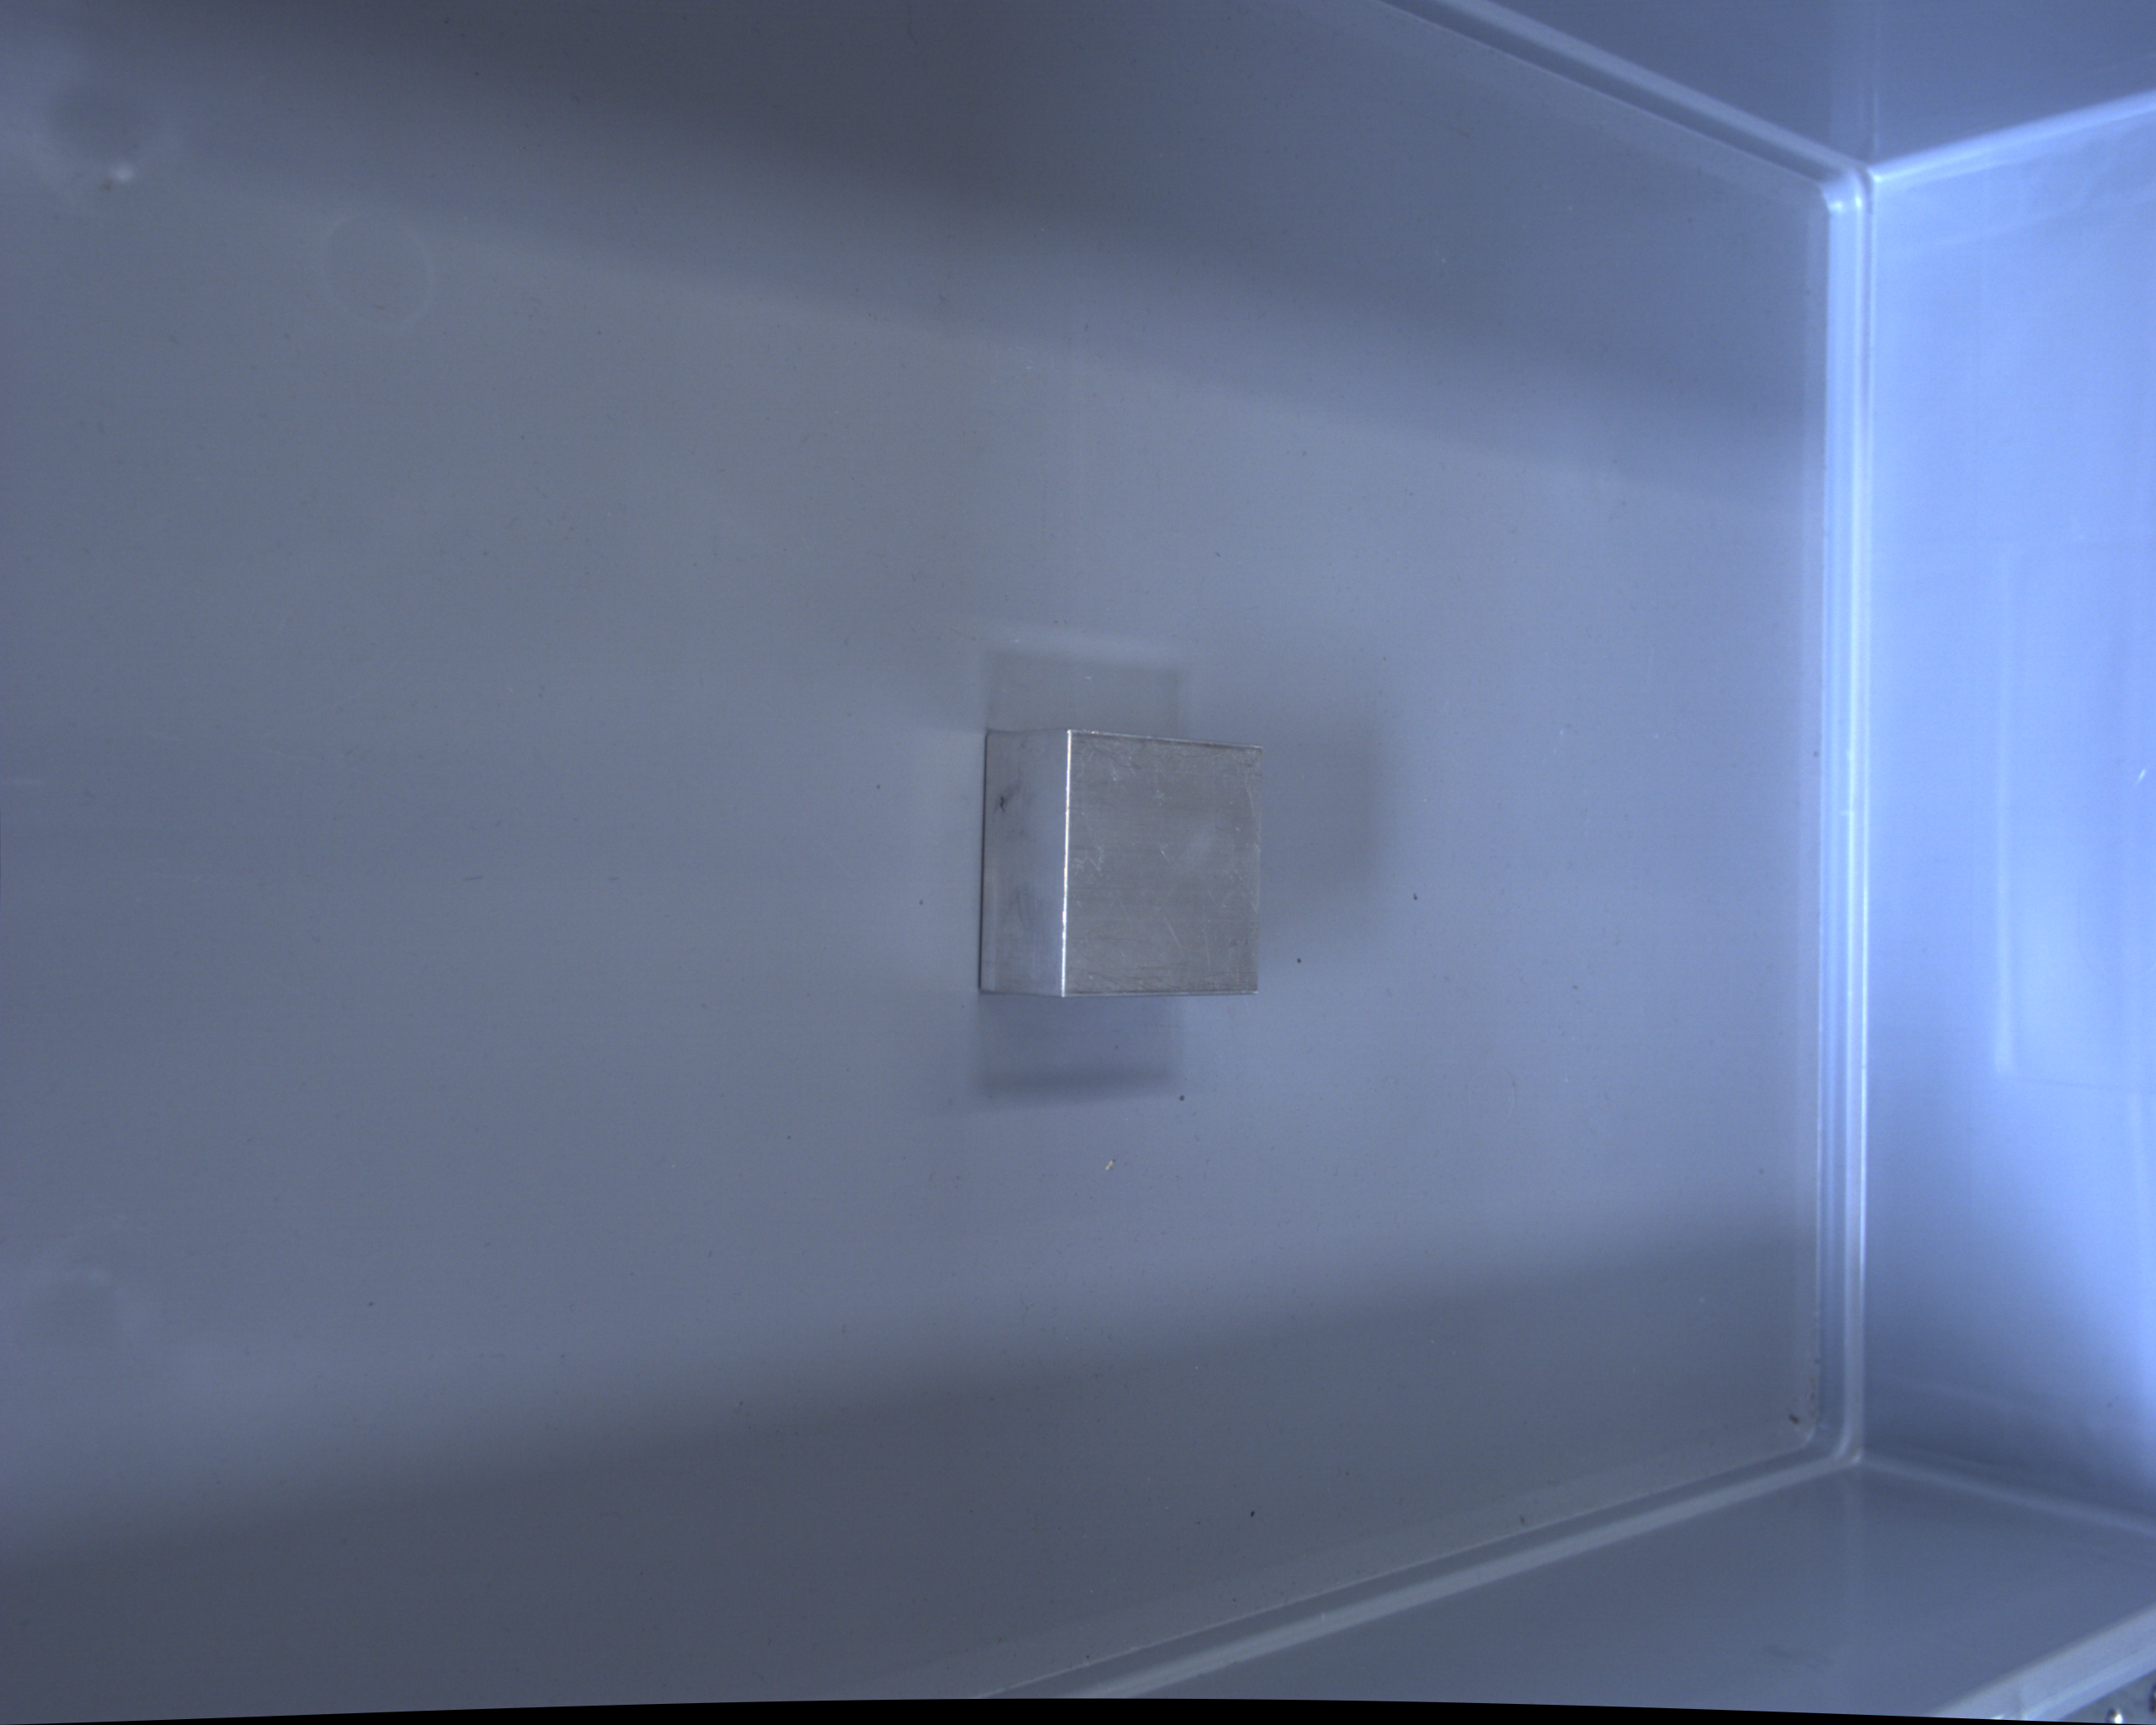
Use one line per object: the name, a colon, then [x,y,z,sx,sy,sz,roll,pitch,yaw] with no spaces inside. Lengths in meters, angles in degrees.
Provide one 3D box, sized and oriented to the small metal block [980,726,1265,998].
small metal block: [0.009,0.000,0.408,0.050,0.025,0.050,2,89,-40]
